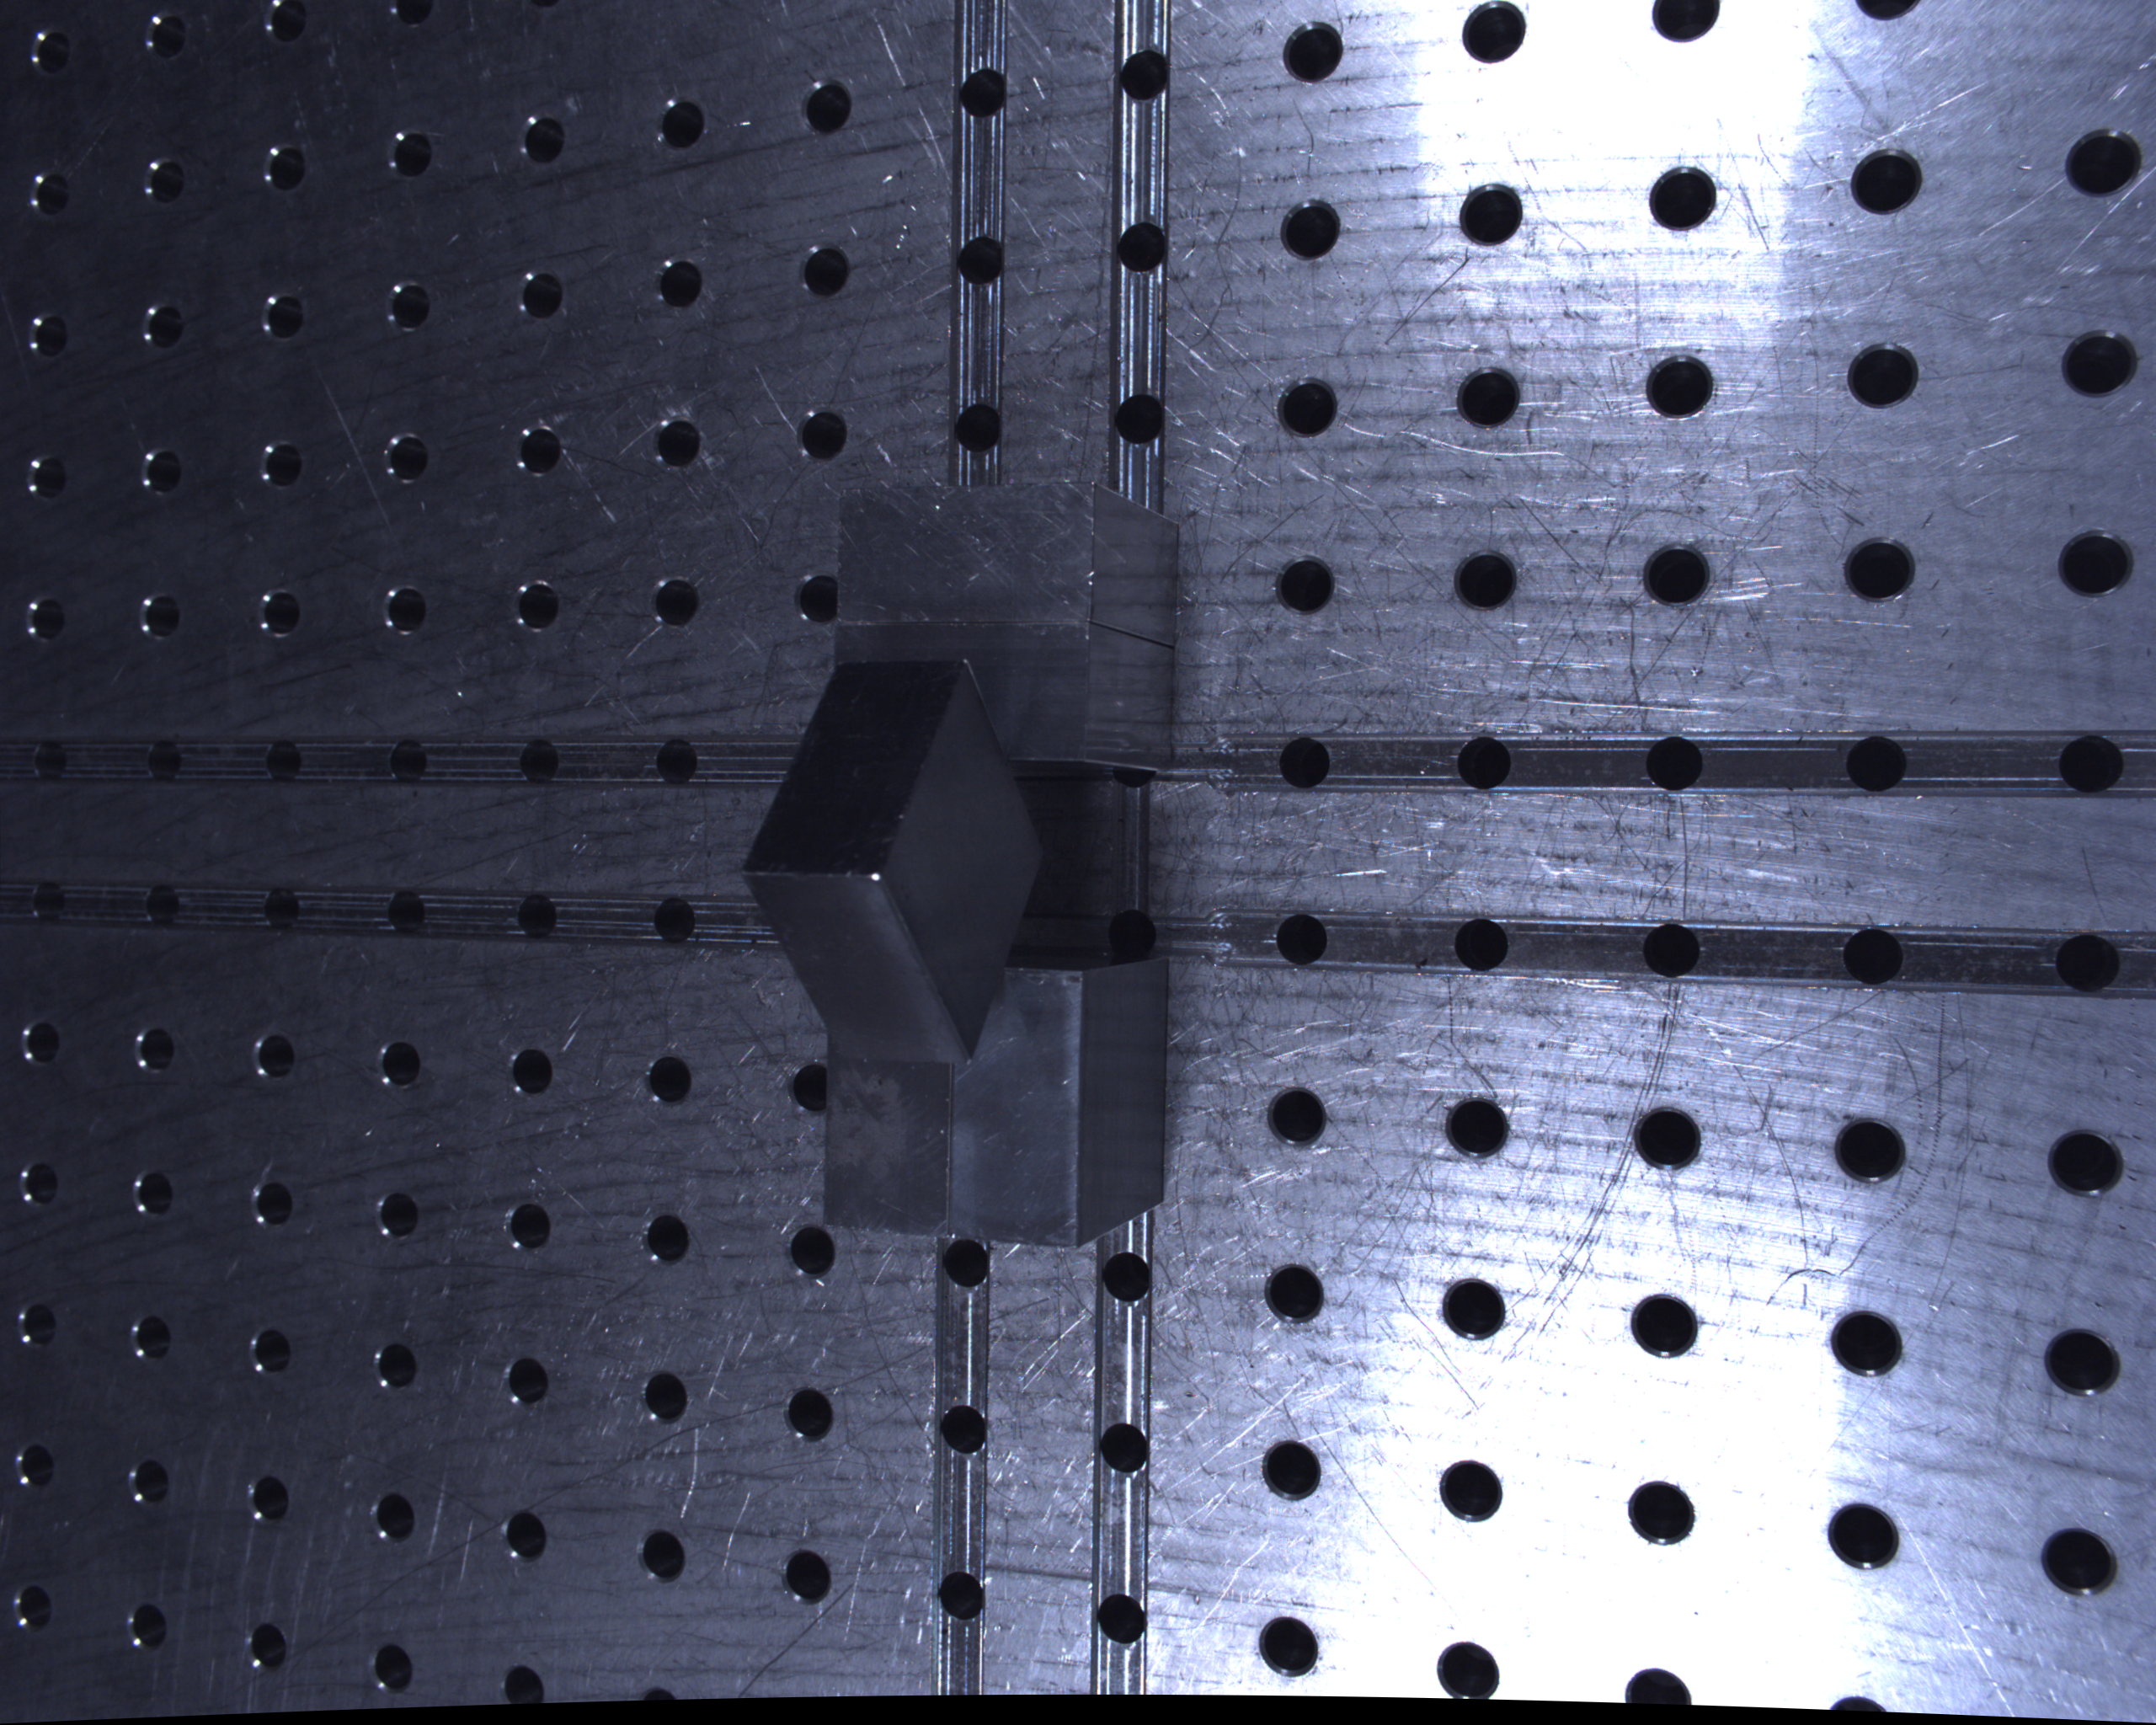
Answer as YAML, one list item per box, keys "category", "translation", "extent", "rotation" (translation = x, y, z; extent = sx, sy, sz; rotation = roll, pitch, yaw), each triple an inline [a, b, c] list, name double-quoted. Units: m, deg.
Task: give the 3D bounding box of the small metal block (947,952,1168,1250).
- category: "small metal block"
  translation: [-0.003, 0.044, 0.398]
  extent: [0.025, 0.050, 0.050]
  rotation: [2, 91, 20]

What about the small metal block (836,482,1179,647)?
- category: "small metal block"
  translation: [-0.012, -0.056, 0.402]
  extent: [0.050, 0.050, 0.025]
  rotation: [2, 91, 19]

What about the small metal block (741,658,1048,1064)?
- category: "small metal block"
  translation: [-0.030, 0.000, 0.365]
  extent: [0.025, 0.050, 0.050]
  rotation: [1, 48, 20]

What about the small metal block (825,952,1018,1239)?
- category: "small metal block"
  translation: [-0.026, 0.043, 0.407]
  extent: [0.025, 0.050, 0.050]
  rotation: [2, 91, 20]

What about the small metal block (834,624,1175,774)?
- category: "small metal block"
  translation: [-0.013, -0.031, 0.402]
  extent: [0.050, 0.050, 0.025]
  rotation: [2, 91, 19]
